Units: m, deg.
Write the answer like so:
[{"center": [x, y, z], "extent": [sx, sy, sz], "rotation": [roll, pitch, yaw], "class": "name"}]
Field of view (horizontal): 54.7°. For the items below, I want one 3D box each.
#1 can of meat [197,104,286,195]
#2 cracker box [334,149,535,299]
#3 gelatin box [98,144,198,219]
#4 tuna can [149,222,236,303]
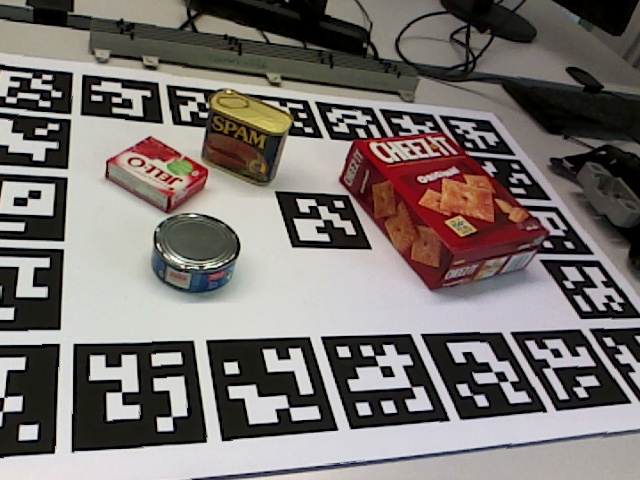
[{"center": [-0.104, -0.113, 0.791], "extent": [0.102, 0.083, 0.058], "rotation": [21, 38, 3], "class": "can of meat"}, {"center": [0.146, -0.032, 0.807], "extent": [0.163, 0.072, 0.215], "rotation": [-10, 45, -34], "class": "cracker box"}, {"center": [-0.201, -0.071, 0.729], "extent": [0.089, 0.030, 0.073], "rotation": [31, 36, 9], "class": "gelatin box"}, {"center": [-0.132, 0.023, 0.639], "extent": [0.085, 0.034, 0.086], "rotation": [11, 42, -11], "class": "tuna can"}]
